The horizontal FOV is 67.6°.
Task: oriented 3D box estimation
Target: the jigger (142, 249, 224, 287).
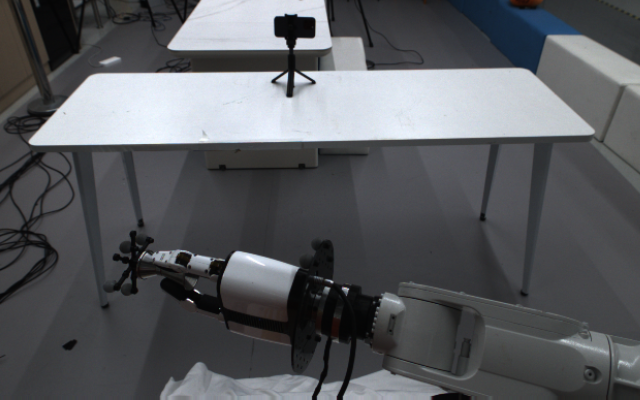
[{"bbox_3d":[-0.189,0.086,0.623,0.071,0.043,0.043,8,35,12],"label":"jigger"}]
